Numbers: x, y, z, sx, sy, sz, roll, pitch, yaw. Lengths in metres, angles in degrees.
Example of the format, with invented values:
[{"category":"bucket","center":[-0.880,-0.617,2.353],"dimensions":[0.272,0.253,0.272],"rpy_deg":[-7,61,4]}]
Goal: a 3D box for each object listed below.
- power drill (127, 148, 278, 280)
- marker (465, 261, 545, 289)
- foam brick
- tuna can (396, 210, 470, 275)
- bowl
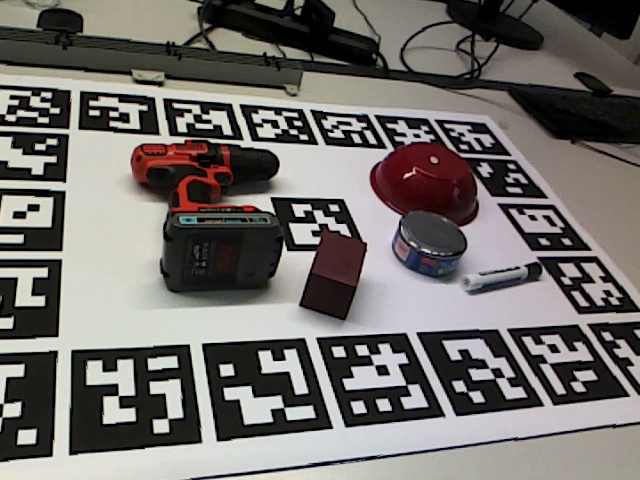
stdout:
[{"category":"power drill","center":[-0.117,-0.037,0.699],"dimensions":[0.183,0.057,0.188],"rpy_deg":[2,39,-24]},{"category":"marker","center":[0.229,0.042,0.756],"dimensions":[0.120,0.019,0.020],"rpy_deg":[-7,46,-28]},{"category":"foam brick","center":[0.020,0.042,0.664],"dimensions":[0.051,0.053,0.078],"rpy_deg":[17,40,-3]},{"category":"tuna can","center":[0.137,0.002,0.759],"dimensions":[0.085,0.034,0.086],"rpy_deg":[12,38,-10]},{"category":"bowl","center":[0.149,-0.084,0.867],"dimensions":[0.161,0.055,0.162],"rpy_deg":[7,34,-5]}]
